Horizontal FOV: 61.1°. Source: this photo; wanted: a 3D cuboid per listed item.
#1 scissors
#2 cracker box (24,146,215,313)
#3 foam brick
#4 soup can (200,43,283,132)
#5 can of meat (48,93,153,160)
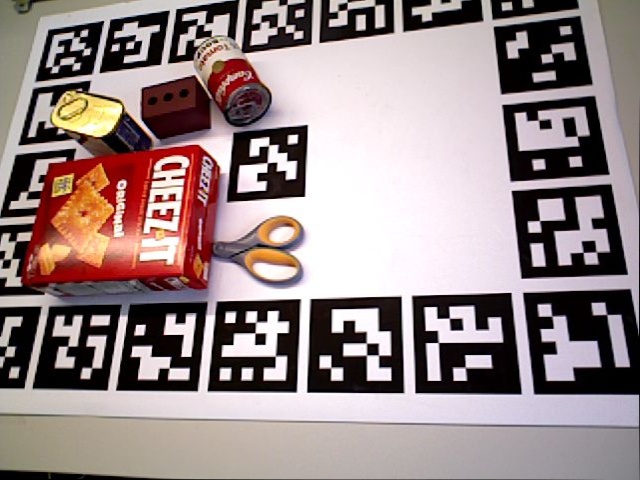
[{"bbox_3d":[-0.117,0.027,0.633,0.203,0.016,0.087,-8,70,12],"label":"scissors"},{"bbox_3d":[-0.235,-0.012,0.642,0.215,0.072,0.163,-9,68,15],"label":"cracker box"},{"bbox_3d":[-0.183,-0.167,0.710,0.078,0.051,0.052,-13,69,9],"label":"foam brick"},{"bbox_3d":[-0.103,-0.197,0.699,0.068,0.068,0.101,-38,62,-2],"label":"soup can"},{"bbox_3d":[-0.281,-0.139,0.704,0.102,0.084,0.057,11,73,16],"label":"can of meat"}]
